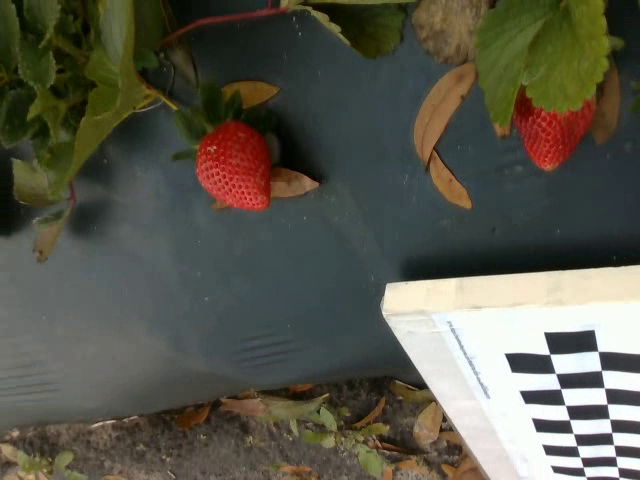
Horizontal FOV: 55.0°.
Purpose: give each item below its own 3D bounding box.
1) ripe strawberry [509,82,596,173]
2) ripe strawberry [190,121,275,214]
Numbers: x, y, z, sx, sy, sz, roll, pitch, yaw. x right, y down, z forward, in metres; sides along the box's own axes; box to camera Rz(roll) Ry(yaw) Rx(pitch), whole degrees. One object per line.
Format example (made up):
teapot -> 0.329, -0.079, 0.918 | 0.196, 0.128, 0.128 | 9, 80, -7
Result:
ripe strawberry -> 0.102, -0.045, 0.265 | 0.040, 0.042, 0.037 | 0, 5, 16
ripe strawberry -> -0.040, -0.032, 0.325 | 0.042, 0.065, 0.047 | -34, -40, -4
